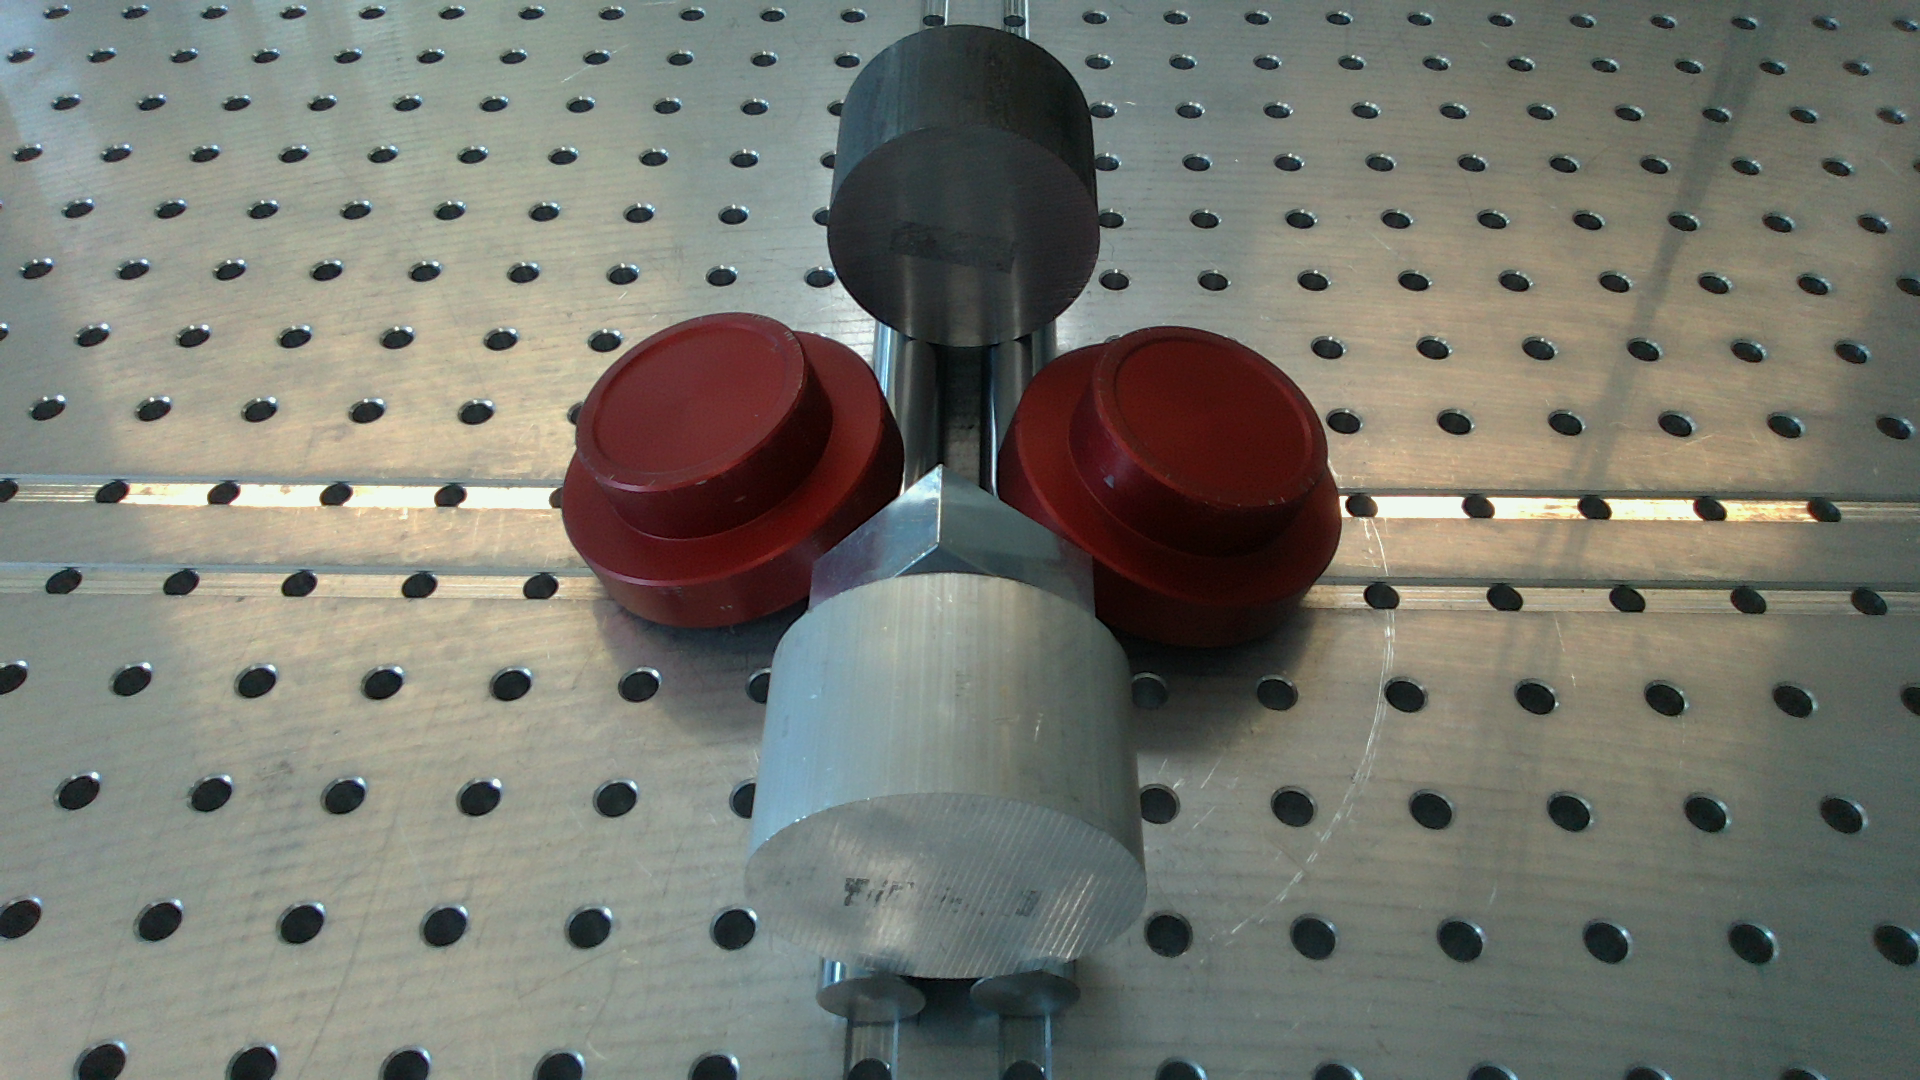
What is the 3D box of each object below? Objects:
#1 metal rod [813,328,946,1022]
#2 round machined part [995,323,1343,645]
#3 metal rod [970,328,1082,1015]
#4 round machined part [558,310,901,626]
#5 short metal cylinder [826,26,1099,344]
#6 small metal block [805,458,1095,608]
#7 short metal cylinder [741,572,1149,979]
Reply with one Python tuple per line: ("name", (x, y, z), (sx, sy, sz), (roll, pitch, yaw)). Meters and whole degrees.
("metal rod", (-0.018, -0.012, 0.403), (0.025, 0.025, 0.300), (1, 50, 1))
("round machined part", (0.062, -0.022, 0.385), (0.098, 0.042, 0.098), (10, 49, -11))
("metal rod", (0.017, -0.013, 0.405), (0.025, 0.025, 0.300), (1, 50, 1))
("round machined part", (-0.069, -0.027, 0.390), (0.098, 0.042, 0.098), (-9, 49, 11))
("short metal cylinder", (0.001, -0.107, 0.420), (0.080, 0.080, 0.050), (1, 50, 1))
("small metal block", (-0.003, 0.014, 0.336), (0.050, 0.050, 0.025), (31, 42, -30))
("short metal cylinder", (-0.002, 0.051, 0.287), (0.080, 0.080, 0.050), (1, 50, 1))
